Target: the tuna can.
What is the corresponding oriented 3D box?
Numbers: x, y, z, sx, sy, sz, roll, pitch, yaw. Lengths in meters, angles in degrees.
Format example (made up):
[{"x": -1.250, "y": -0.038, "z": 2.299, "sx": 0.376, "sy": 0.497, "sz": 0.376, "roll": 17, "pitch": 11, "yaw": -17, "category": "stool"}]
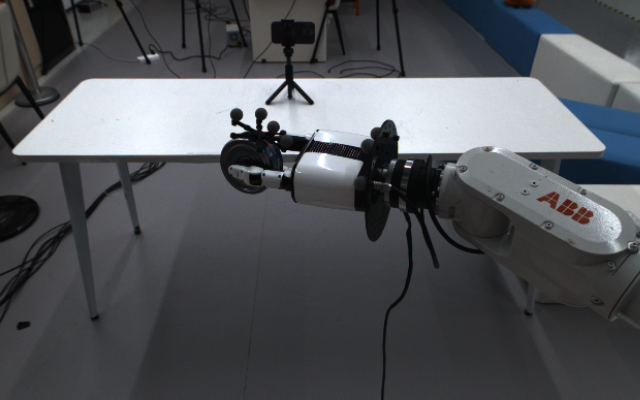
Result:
[{"x": -0.094, "y": -0.045, "z": 0.682, "sx": 0.085, "sy": 0.085, "sz": 0.034, "roll": 15, "pitch": 31, "yaw": 18, "category": "tuna can"}]
